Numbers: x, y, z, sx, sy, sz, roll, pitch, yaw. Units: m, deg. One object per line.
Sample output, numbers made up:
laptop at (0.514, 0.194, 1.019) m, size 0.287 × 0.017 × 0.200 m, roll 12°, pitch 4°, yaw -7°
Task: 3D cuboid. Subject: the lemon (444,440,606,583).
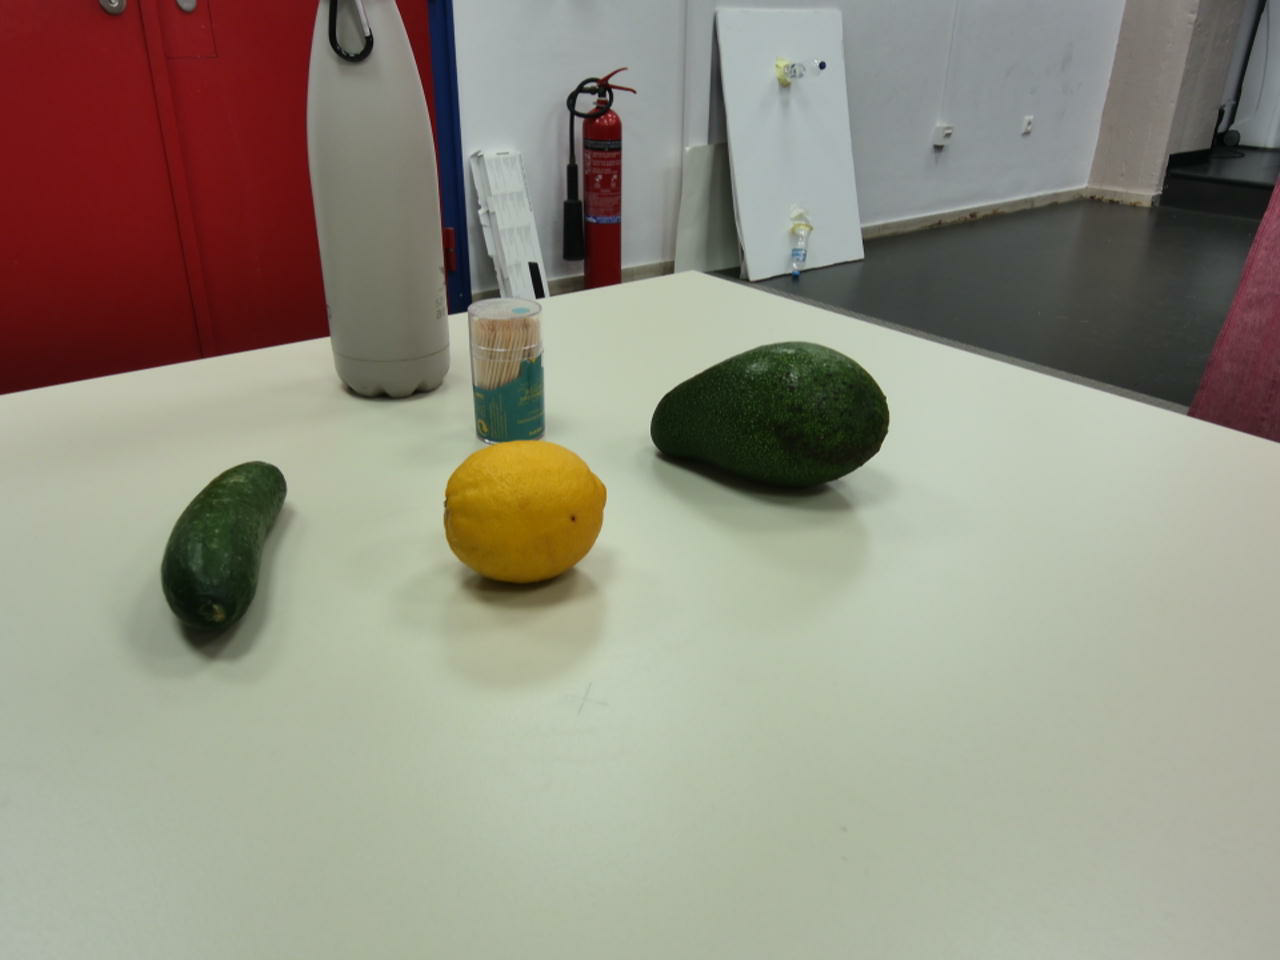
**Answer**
lemon at (-0.049, 0.013, 0.419) m, size 0.067 × 0.059 × 0.060 m, roll 1°, pitch 24°, yaw 3°
